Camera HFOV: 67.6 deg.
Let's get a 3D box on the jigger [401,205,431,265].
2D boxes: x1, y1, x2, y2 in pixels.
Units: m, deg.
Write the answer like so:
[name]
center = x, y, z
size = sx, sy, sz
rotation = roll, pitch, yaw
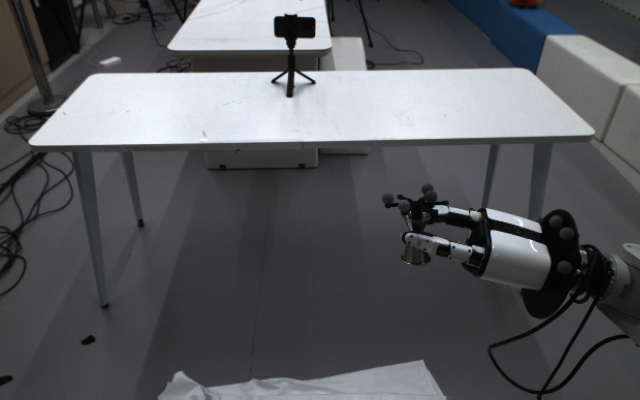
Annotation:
[jigger]
center = 0.138, 0.053, 0.699
size = 0.043, 0.071, 0.043
rotation = -2, 19, 1
